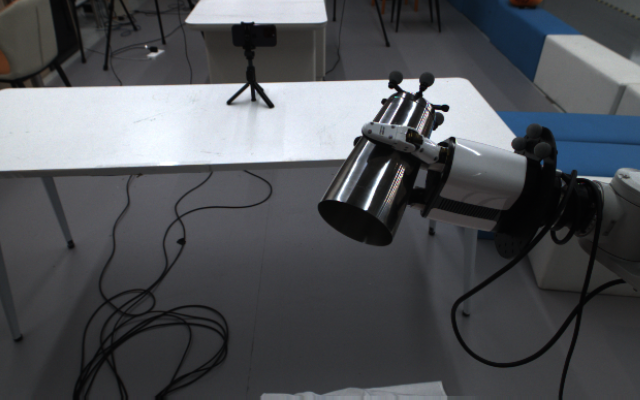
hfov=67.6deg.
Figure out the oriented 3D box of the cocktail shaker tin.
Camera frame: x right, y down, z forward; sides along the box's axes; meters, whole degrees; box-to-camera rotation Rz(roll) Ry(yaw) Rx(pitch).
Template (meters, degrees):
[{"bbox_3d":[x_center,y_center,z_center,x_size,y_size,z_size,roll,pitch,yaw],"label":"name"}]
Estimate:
[{"bbox_3d":[0.079,-0.045,0.566,0.093,0.093,0.170,18,66,21],"label":"cocktail shaker tin"}]
